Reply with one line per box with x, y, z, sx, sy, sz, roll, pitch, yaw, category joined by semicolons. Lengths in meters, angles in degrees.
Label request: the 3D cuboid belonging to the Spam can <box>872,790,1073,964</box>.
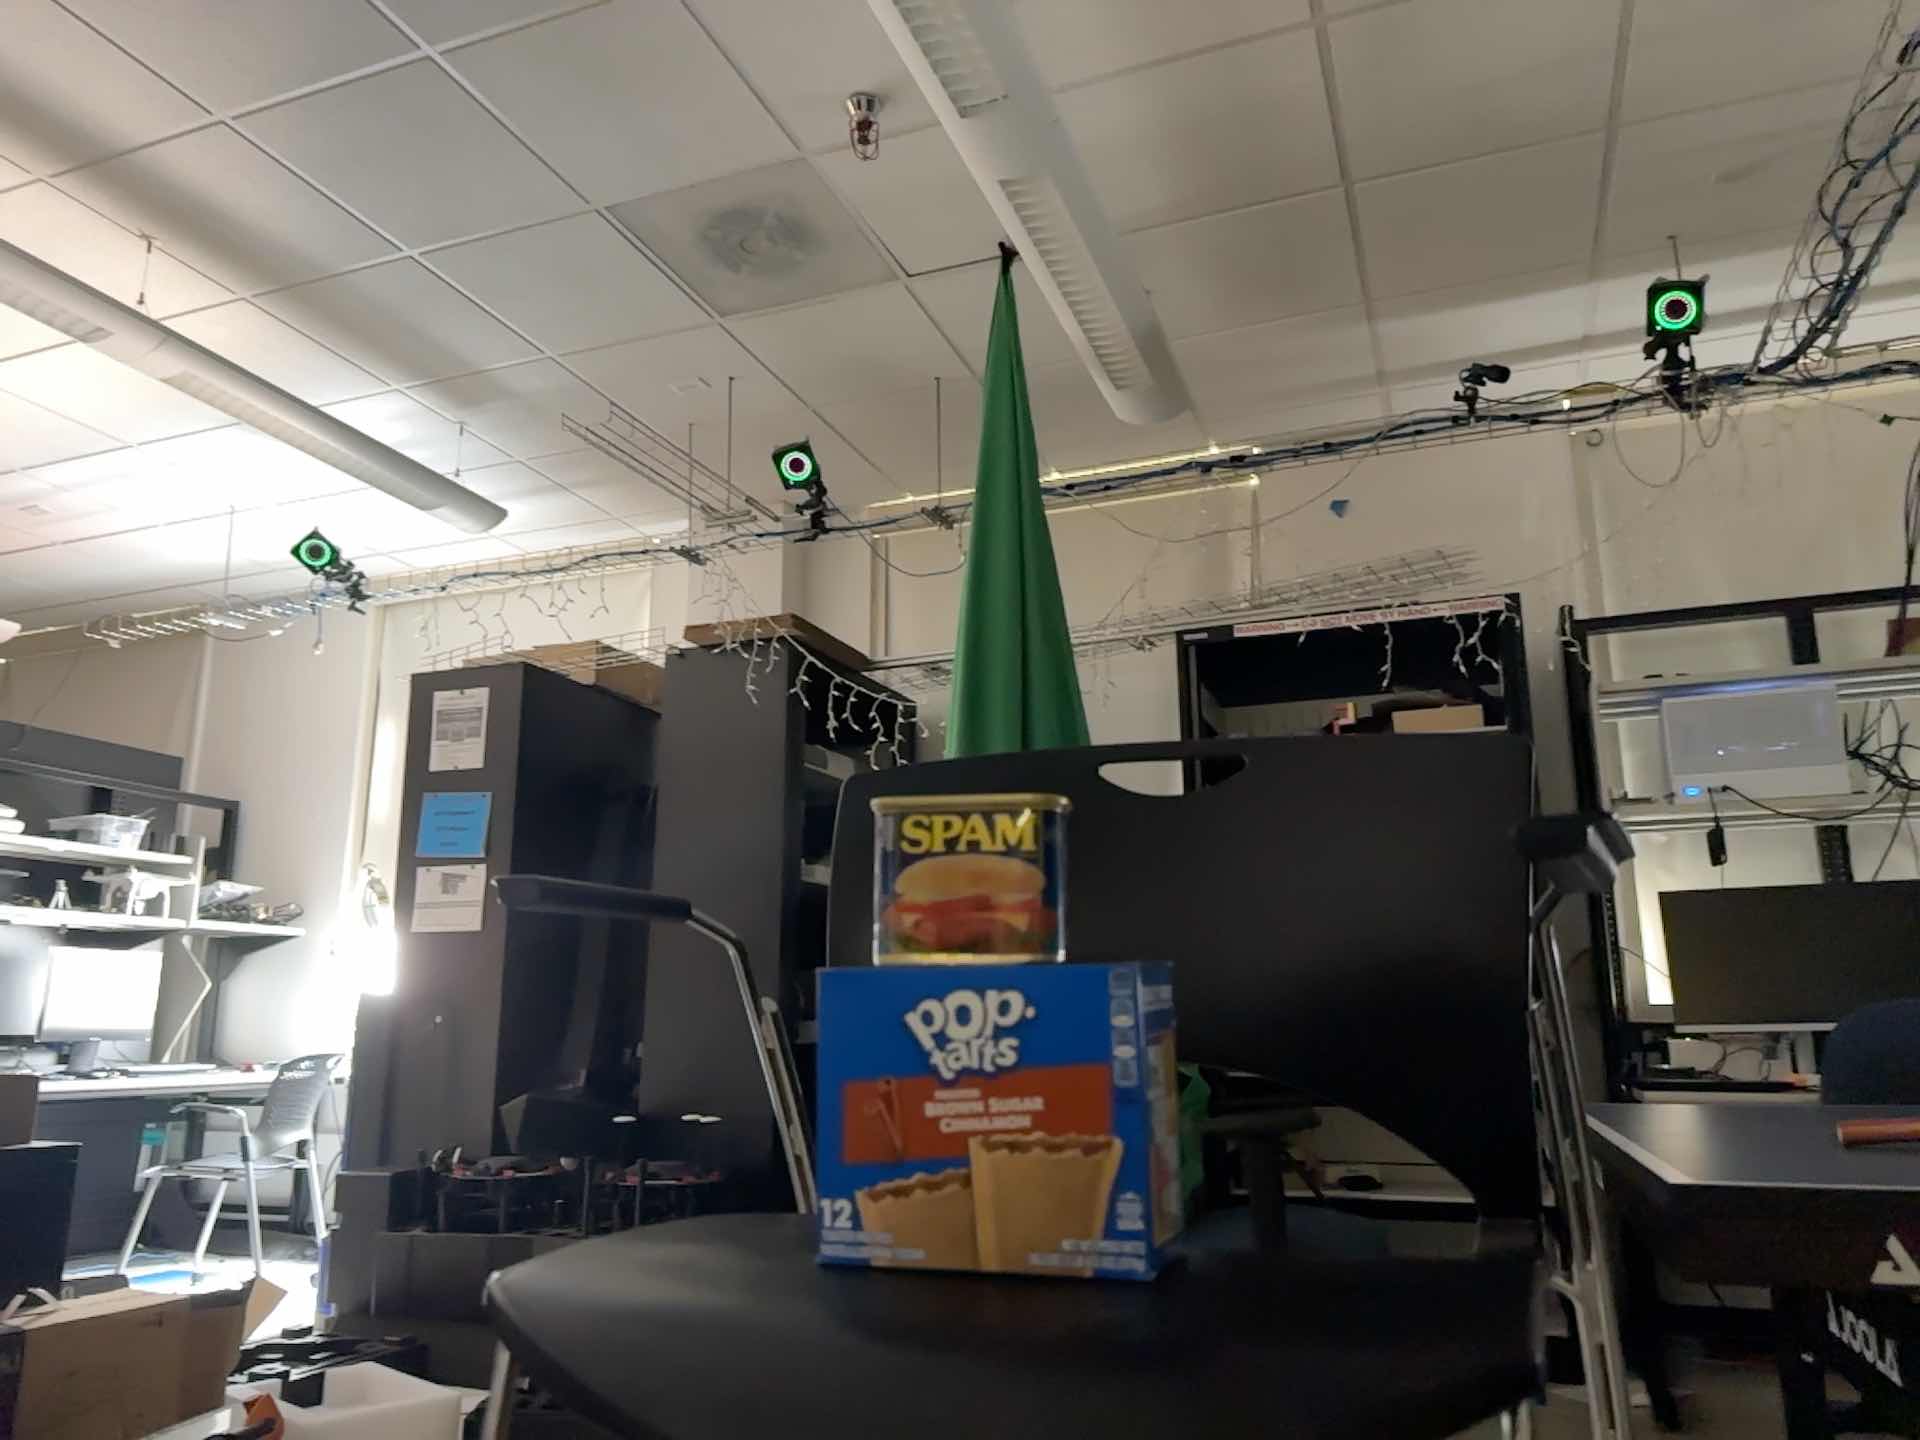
0.006;0.082;0.691;0.100;0.083;0.056;-2;-9;15;Spam can

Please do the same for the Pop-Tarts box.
0.019;0.195;0.674;0.161;0.135;0.075;-4;-10;17;Pop-Tarts box
